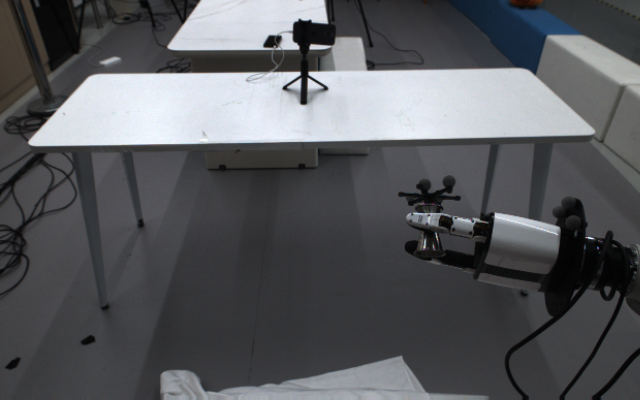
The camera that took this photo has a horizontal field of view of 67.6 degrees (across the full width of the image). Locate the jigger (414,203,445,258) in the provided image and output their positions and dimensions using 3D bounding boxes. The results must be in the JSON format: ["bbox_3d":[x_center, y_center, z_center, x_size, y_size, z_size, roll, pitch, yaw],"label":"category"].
[{"bbox_3d":[0.153,0.042,0.683,0.043,0.043,0.071,4,71,2],"label":"jigger"}]
